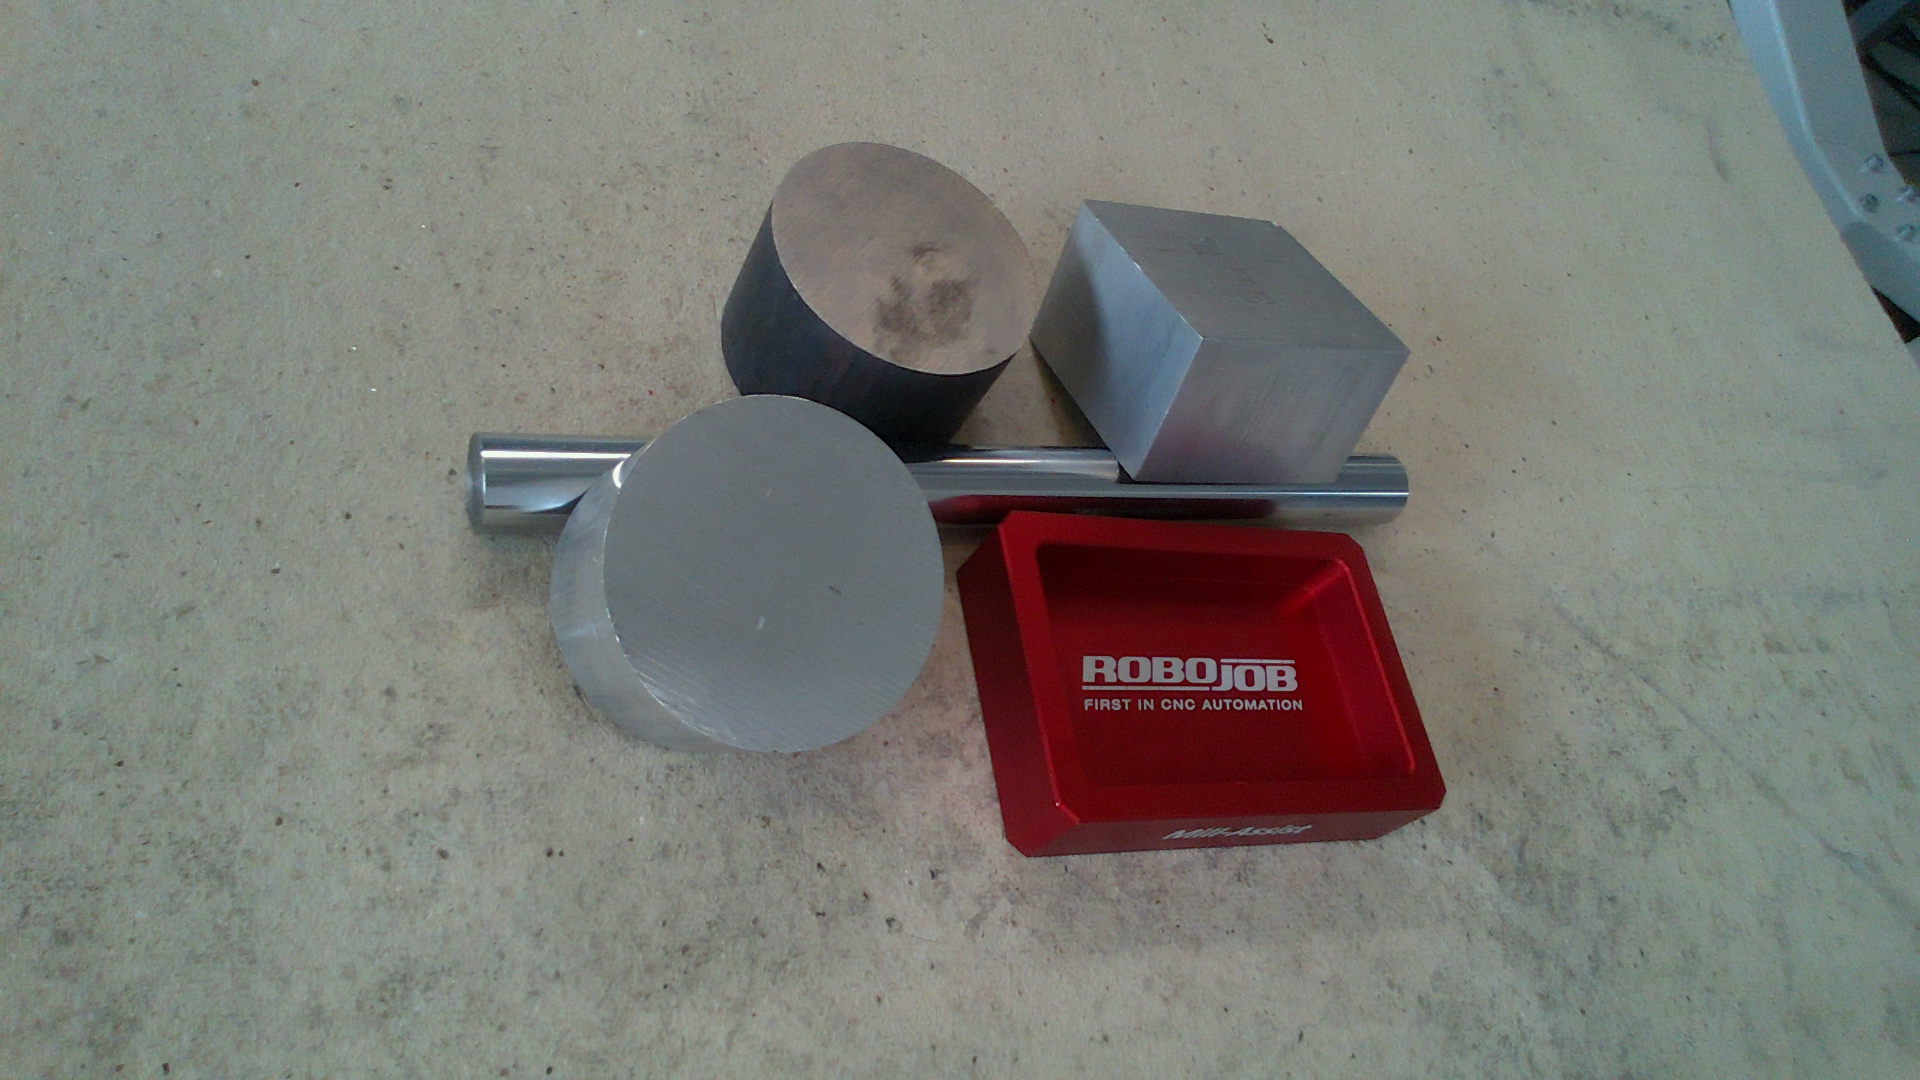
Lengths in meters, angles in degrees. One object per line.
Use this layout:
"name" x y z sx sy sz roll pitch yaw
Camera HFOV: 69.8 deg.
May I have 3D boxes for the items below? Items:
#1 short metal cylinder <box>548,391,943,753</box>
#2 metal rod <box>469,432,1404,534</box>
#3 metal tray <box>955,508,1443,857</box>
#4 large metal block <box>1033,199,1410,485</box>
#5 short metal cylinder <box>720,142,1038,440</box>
"short metal cylinder" -0.051 0.010 0.324 0.080 0.050 0.080 5 80 -28
"metal rod" 0.014 -0.016 0.408 0.301 0.025 0.025 -1 62 -29
"metal tray" 0.069 0.040 0.398 0.130 0.030 0.090 3 60 -27
"large metal block" 0.079 -0.063 0.439 0.080 0.050 0.080 -1 41 -29
"short metal cylinder" -0.024 -0.068 0.402 0.080 0.050 0.080 14 55 -20
